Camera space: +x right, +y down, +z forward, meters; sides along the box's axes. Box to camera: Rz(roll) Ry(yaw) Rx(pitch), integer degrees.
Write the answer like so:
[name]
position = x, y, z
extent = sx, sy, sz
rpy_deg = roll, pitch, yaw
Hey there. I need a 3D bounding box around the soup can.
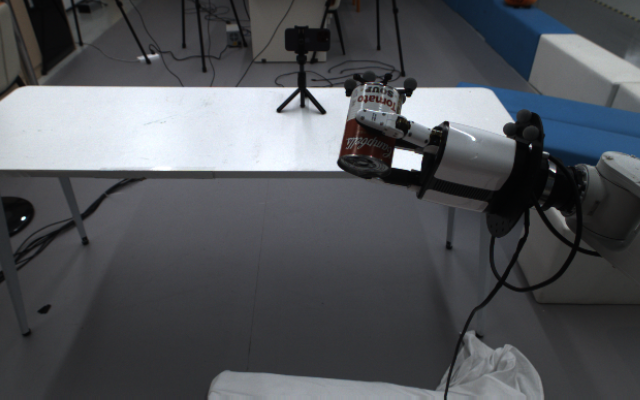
[soup can]
position = 0.065, -0.089, 0.611
extent = 0.067, 0.067, 0.101
rpy_deg = 9, 74, 9
